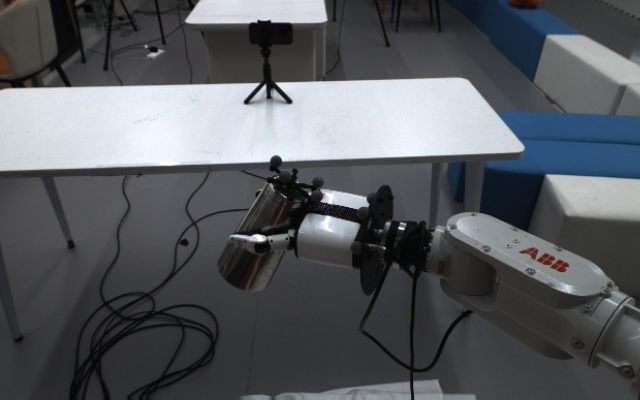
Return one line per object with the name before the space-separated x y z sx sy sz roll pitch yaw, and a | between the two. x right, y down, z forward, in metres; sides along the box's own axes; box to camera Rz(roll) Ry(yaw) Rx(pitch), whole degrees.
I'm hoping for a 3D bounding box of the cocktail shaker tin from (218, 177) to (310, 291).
cocktail shaker tin | -0.082 0.044 0.740 0.093 0.170 0.093 25 29 -15
